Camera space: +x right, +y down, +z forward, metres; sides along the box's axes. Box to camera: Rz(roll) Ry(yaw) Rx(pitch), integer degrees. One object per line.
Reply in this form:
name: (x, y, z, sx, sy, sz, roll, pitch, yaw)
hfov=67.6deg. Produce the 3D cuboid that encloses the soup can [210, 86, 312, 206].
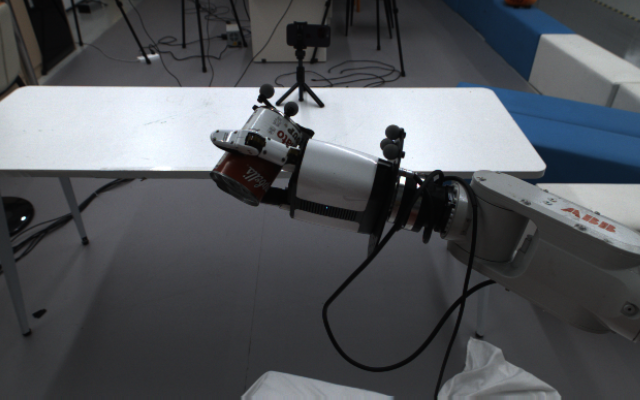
soup can: (-0.073, -0.052, 0.573, 0.067, 0.067, 0.101, 23, 71, 27)
